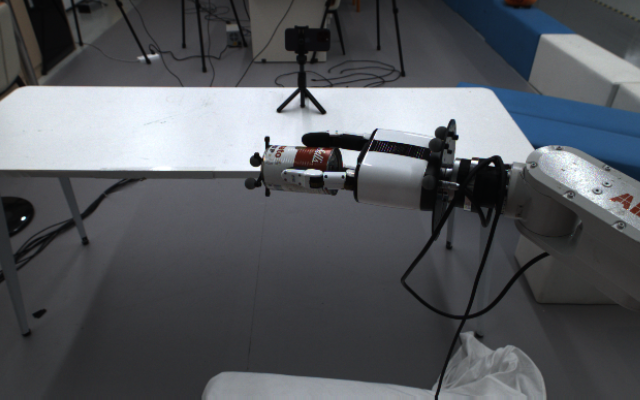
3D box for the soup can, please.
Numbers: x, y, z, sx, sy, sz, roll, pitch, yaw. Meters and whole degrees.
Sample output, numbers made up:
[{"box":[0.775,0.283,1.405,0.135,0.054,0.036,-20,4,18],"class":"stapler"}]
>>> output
[{"box":[-0.024,-0.043,0.697,0.101,0.067,0.067,5,34,18],"class":"soup can"}]
